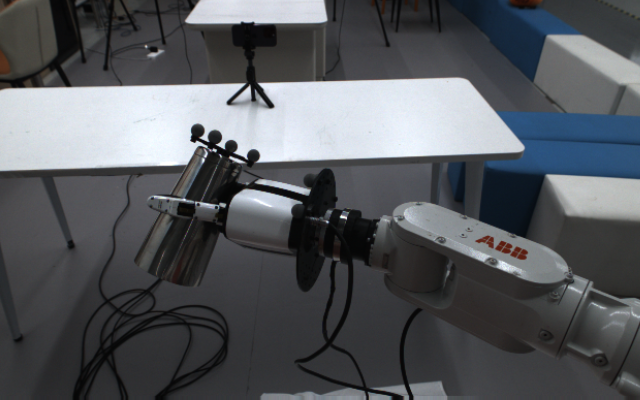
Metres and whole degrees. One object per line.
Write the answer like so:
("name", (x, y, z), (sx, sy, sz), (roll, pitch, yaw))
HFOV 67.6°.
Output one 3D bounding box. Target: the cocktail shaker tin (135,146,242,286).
("cocktail shaker tin", (-0.167, 0.016, 0.645), (0.093, 0.170, 0.093), (23, 0, 0))
